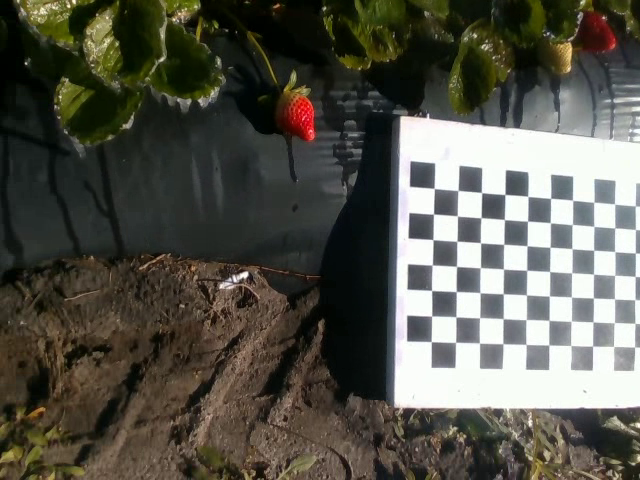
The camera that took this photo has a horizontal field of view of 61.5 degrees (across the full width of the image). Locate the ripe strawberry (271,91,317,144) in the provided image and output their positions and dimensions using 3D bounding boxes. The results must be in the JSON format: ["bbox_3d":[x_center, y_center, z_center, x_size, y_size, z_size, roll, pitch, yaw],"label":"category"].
[{"bbox_3d":[-0.019,-0.108,0.470,0.039,0.053,0.041,-20,-16,-12],"label":"ripe strawberry"}]
